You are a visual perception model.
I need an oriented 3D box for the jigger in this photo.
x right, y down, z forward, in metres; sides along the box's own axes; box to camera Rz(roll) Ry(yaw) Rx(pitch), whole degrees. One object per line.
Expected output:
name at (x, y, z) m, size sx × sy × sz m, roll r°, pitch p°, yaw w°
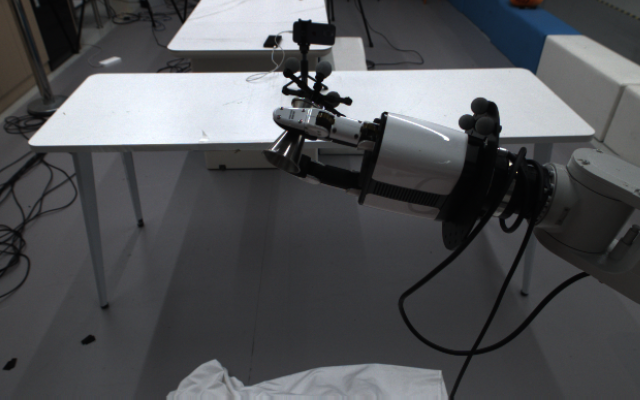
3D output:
jigger at (-0.026, -0.070, 0.506) m, size 0.043 × 0.043 × 0.071 m, roll 19°, pitch 72°, yaw 23°
